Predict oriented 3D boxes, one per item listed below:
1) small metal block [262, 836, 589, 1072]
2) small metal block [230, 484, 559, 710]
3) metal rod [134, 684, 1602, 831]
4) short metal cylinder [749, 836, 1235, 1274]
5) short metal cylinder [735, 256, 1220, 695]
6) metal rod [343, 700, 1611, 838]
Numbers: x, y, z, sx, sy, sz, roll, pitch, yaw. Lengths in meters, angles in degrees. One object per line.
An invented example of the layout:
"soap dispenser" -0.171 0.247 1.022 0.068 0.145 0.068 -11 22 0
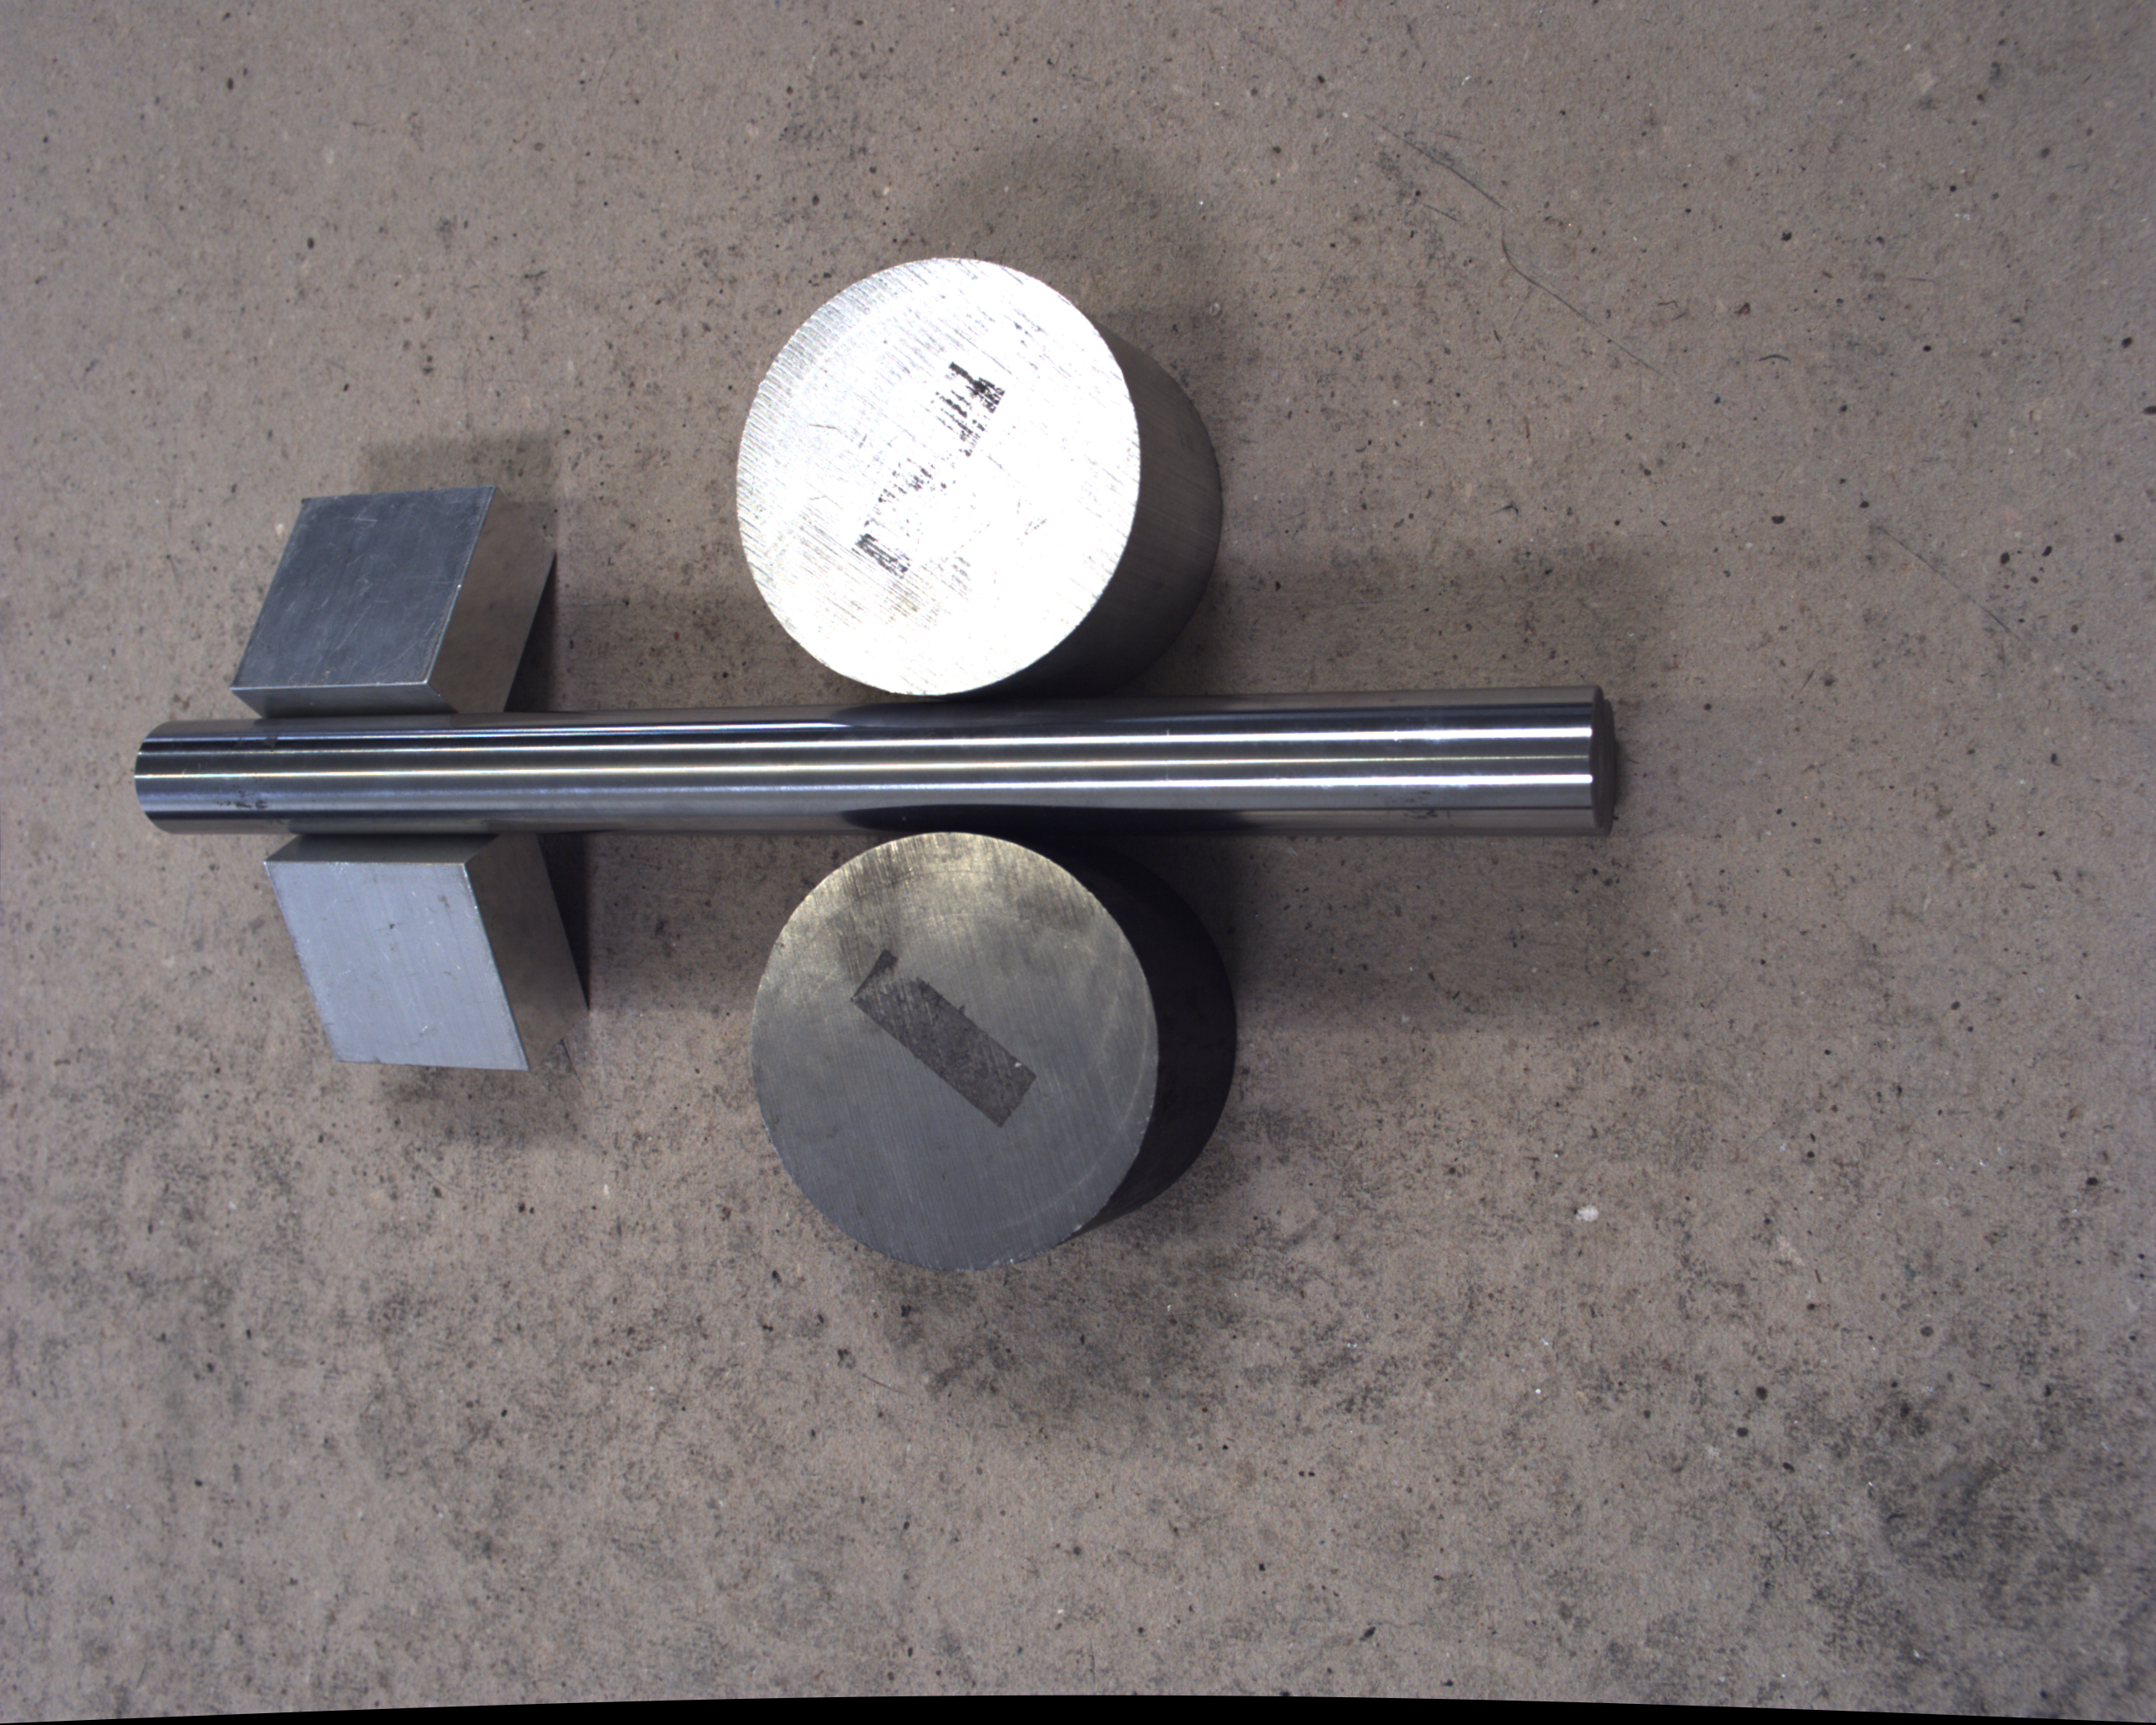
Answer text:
"small metal block" -0.139 0.016 0.449 0.050 0.025 0.050 1 117 19
"small metal block" -0.147 -0.053 0.452 0.050 0.025 0.050 0 63 20
"metal rod" -0.054 -0.019 0.403 0.301 0.025 0.025 0 90 20
"short metal cylinder" -0.015 0.035 0.402 0.080 0.050 0.079 0 90 20
"short metal cylinder" -0.018 -0.071 0.403 0.080 0.050 0.079 0 90 20
"metal rod" -0.046 -0.018 0.426 0.301 0.025 0.025 0 90 19
